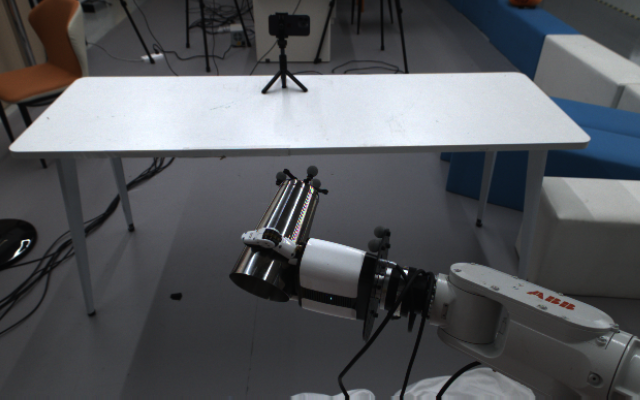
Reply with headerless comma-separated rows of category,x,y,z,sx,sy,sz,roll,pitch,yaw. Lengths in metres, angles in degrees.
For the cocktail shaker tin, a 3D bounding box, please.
cocktail shaker tin,-0.061,0.055,0.723,0.093,0.093,0.170,14,60,16
